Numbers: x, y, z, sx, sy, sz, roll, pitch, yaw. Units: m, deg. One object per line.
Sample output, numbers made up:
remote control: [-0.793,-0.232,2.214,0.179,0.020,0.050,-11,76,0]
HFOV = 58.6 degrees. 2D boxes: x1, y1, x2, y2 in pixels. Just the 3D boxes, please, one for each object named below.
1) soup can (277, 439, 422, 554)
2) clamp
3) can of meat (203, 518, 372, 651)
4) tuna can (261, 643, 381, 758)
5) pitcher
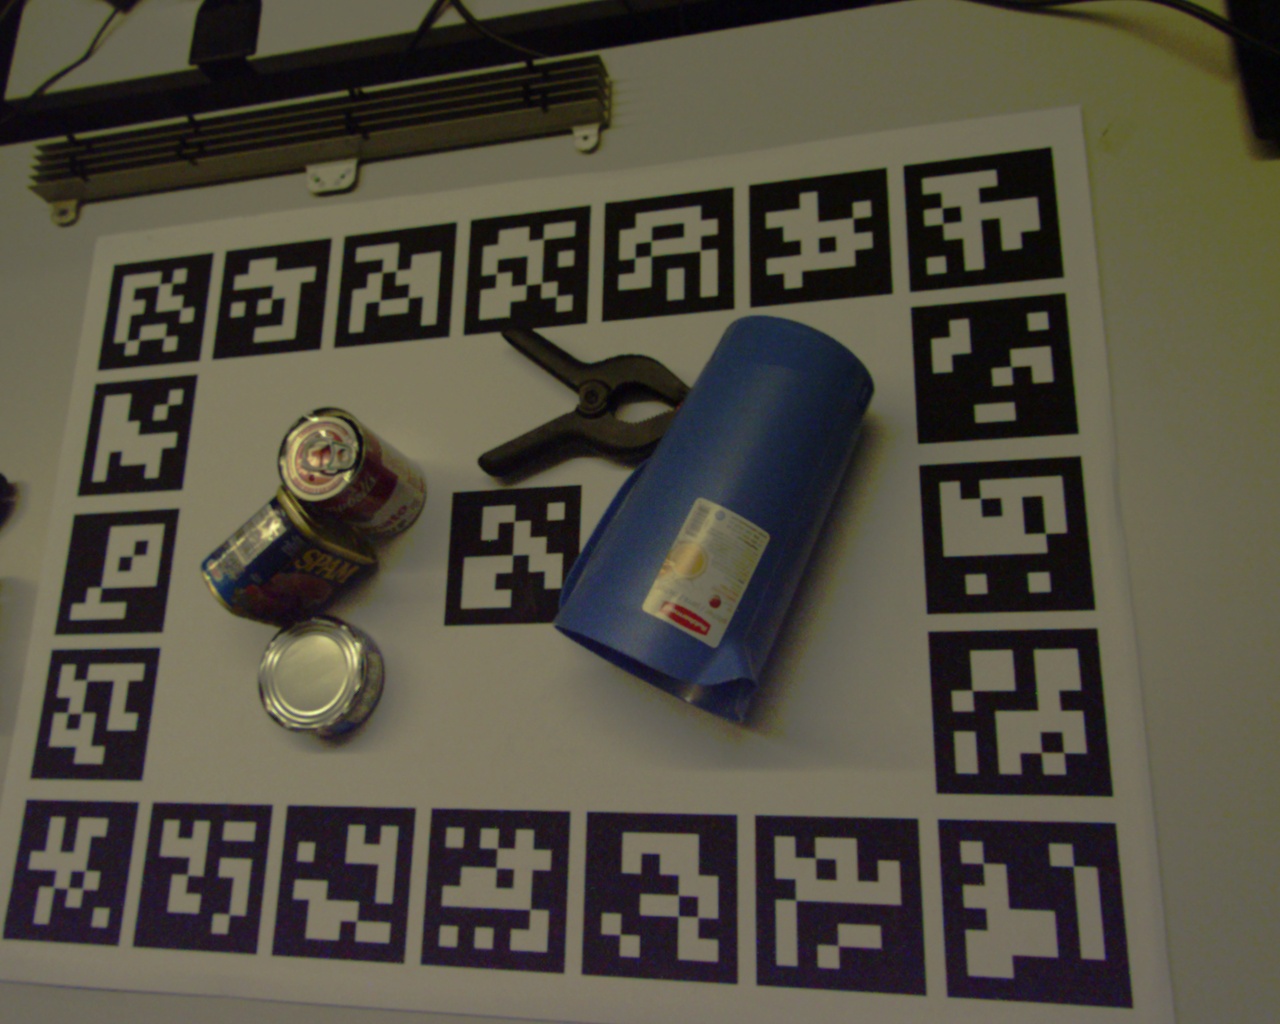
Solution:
soup can: [-0.220,-0.009,0.872,0.068,0.101,0.068,-4,76,17]
clamp: [-0.056,-0.062,0.883,0.166,0.036,0.122,0,71,13]
can of meat: [-0.268,0.058,0.862,0.084,0.101,0.058,-39,70,6]
tuna can: [-0.242,0.145,0.870,0.086,0.033,0.086,-4,76,15]
pitcher: [0.036,0.024,0.767,0.191,0.131,0.242,14,71,41]
